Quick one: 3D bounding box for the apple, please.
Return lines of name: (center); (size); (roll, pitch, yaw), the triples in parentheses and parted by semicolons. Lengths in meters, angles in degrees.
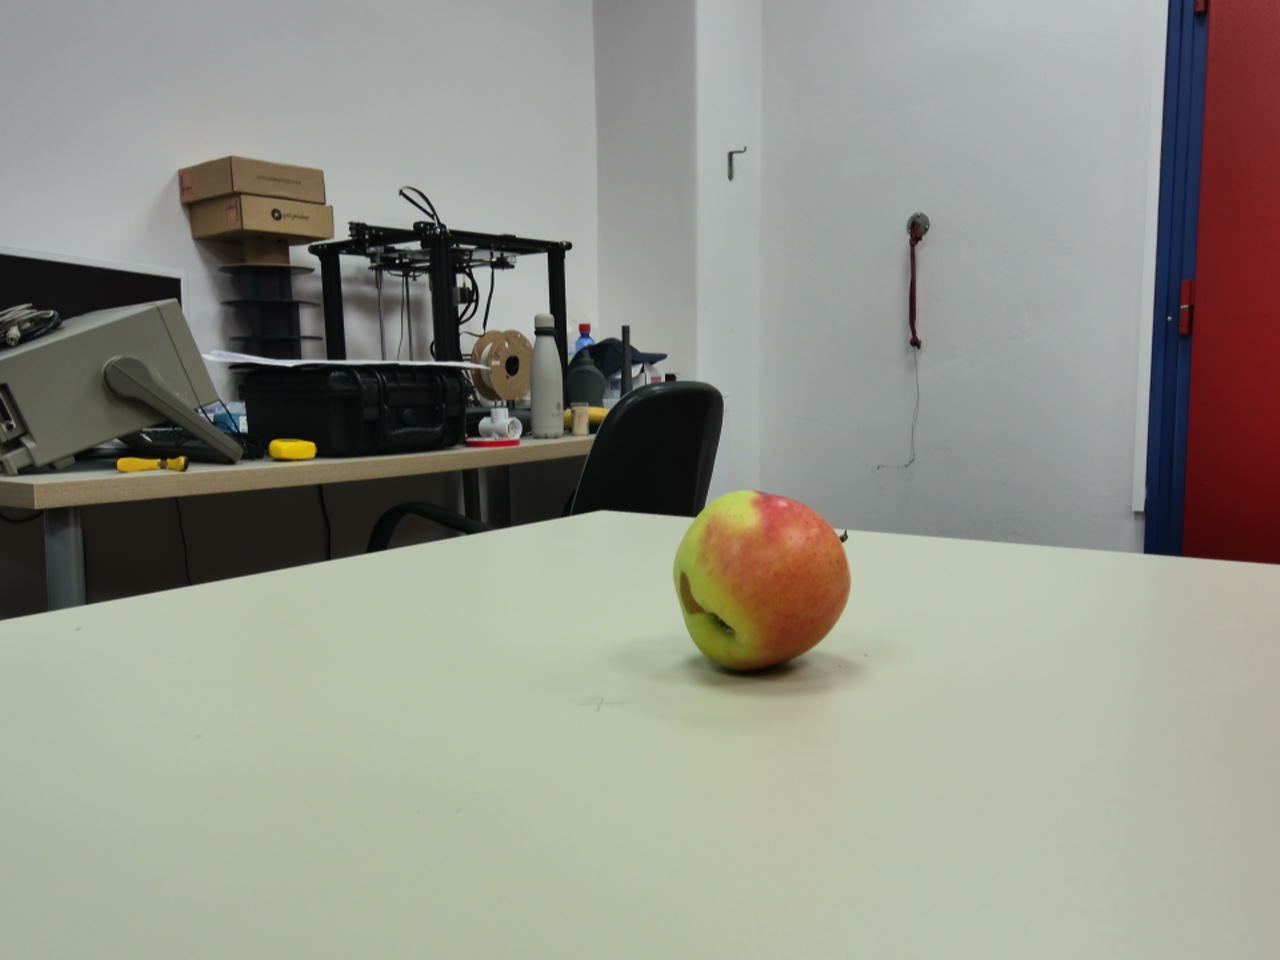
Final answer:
apple: (0.051, 0.044, 0.433); (0.075, 0.074, 0.075); (0, 3, 17)
